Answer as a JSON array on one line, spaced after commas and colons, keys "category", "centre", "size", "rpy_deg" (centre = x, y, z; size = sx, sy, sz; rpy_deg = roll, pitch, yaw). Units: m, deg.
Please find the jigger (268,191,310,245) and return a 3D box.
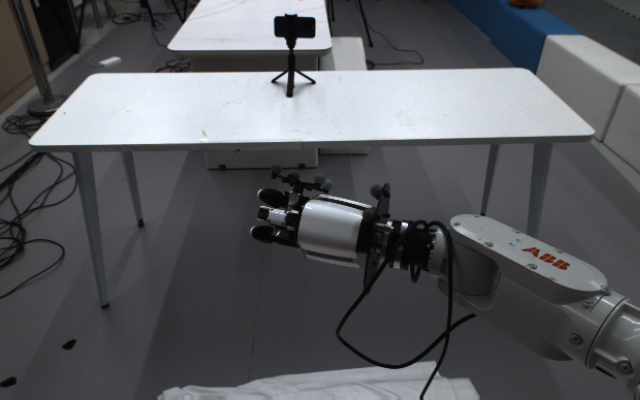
[{"category": "jigger", "centre": [-0.040, 0.024, 0.710], "size": [0.043, 0.071, 0.043], "rpy_deg": [15, -7, 2]}]
